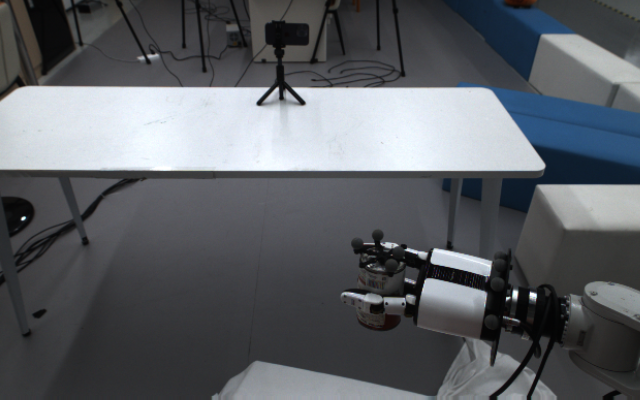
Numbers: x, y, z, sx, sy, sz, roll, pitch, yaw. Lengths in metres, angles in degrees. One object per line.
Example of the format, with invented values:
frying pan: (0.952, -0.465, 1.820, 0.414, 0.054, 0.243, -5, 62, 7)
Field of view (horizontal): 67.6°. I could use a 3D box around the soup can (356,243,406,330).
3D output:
soup can: (0.090, 0.129, 0.701, 0.067, 0.101, 0.067, 1, 25, 0)
